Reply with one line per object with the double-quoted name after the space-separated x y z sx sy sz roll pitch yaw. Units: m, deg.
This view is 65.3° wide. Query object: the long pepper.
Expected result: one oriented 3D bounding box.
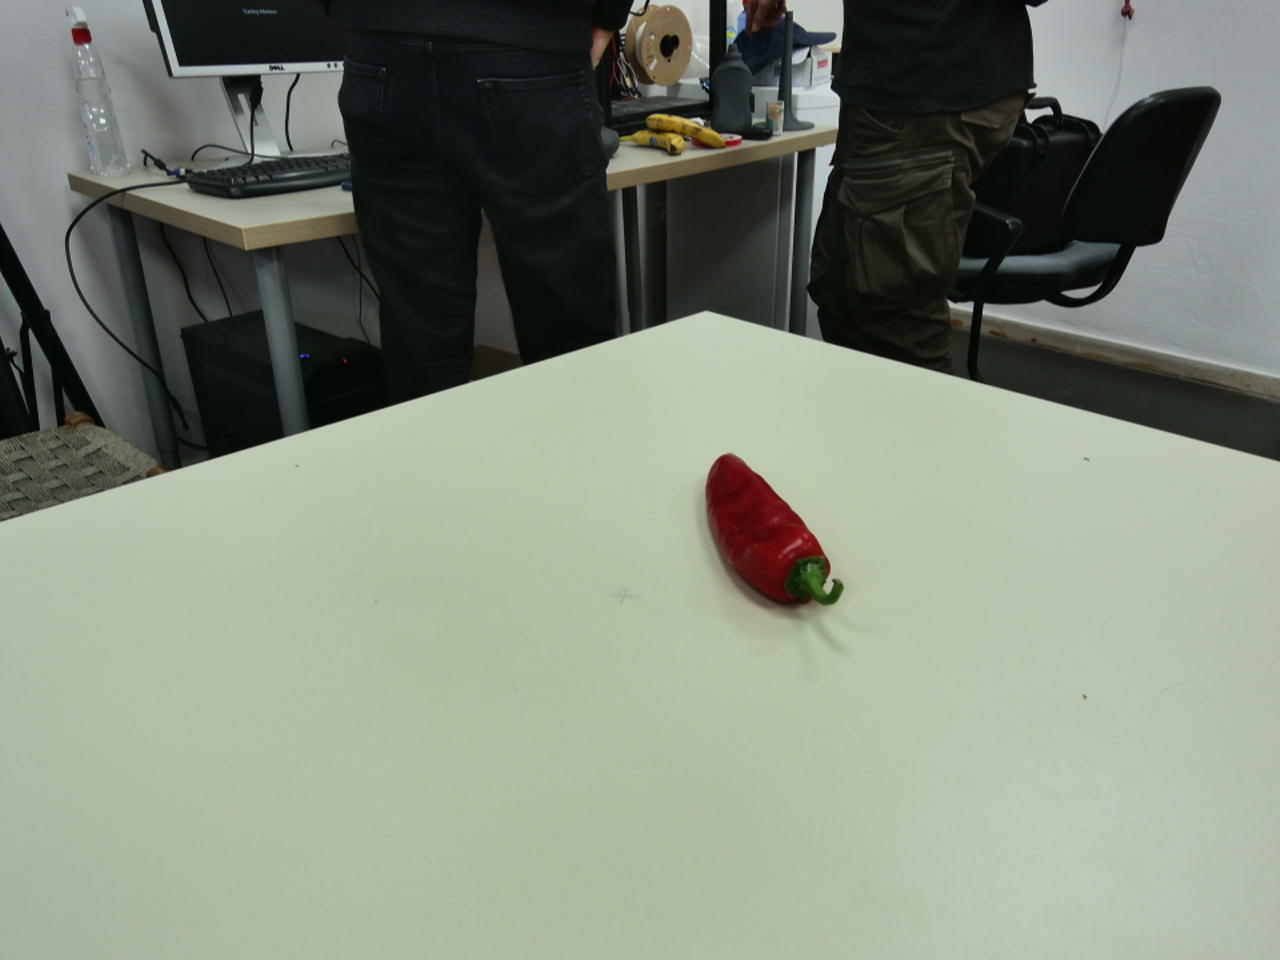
0.072 0.027 0.609 0.050 0.043 0.211 -4 25 -9 "long pepper"
